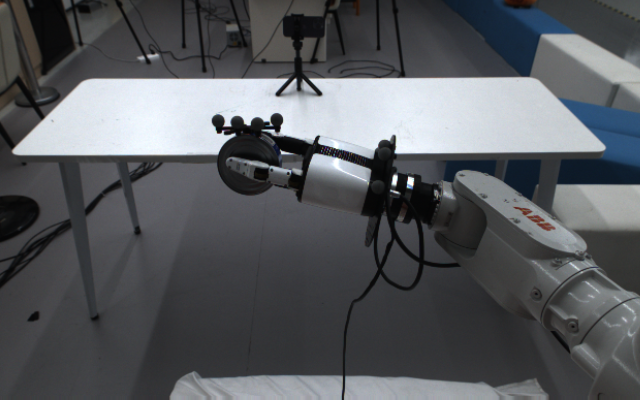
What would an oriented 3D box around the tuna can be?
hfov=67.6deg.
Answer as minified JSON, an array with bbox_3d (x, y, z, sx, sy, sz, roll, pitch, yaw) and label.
[{"bbox_3d":[-0.091,-0.051,0.670,0.085,0.085,0.034,4,18,3],"label":"tuna can"}]
